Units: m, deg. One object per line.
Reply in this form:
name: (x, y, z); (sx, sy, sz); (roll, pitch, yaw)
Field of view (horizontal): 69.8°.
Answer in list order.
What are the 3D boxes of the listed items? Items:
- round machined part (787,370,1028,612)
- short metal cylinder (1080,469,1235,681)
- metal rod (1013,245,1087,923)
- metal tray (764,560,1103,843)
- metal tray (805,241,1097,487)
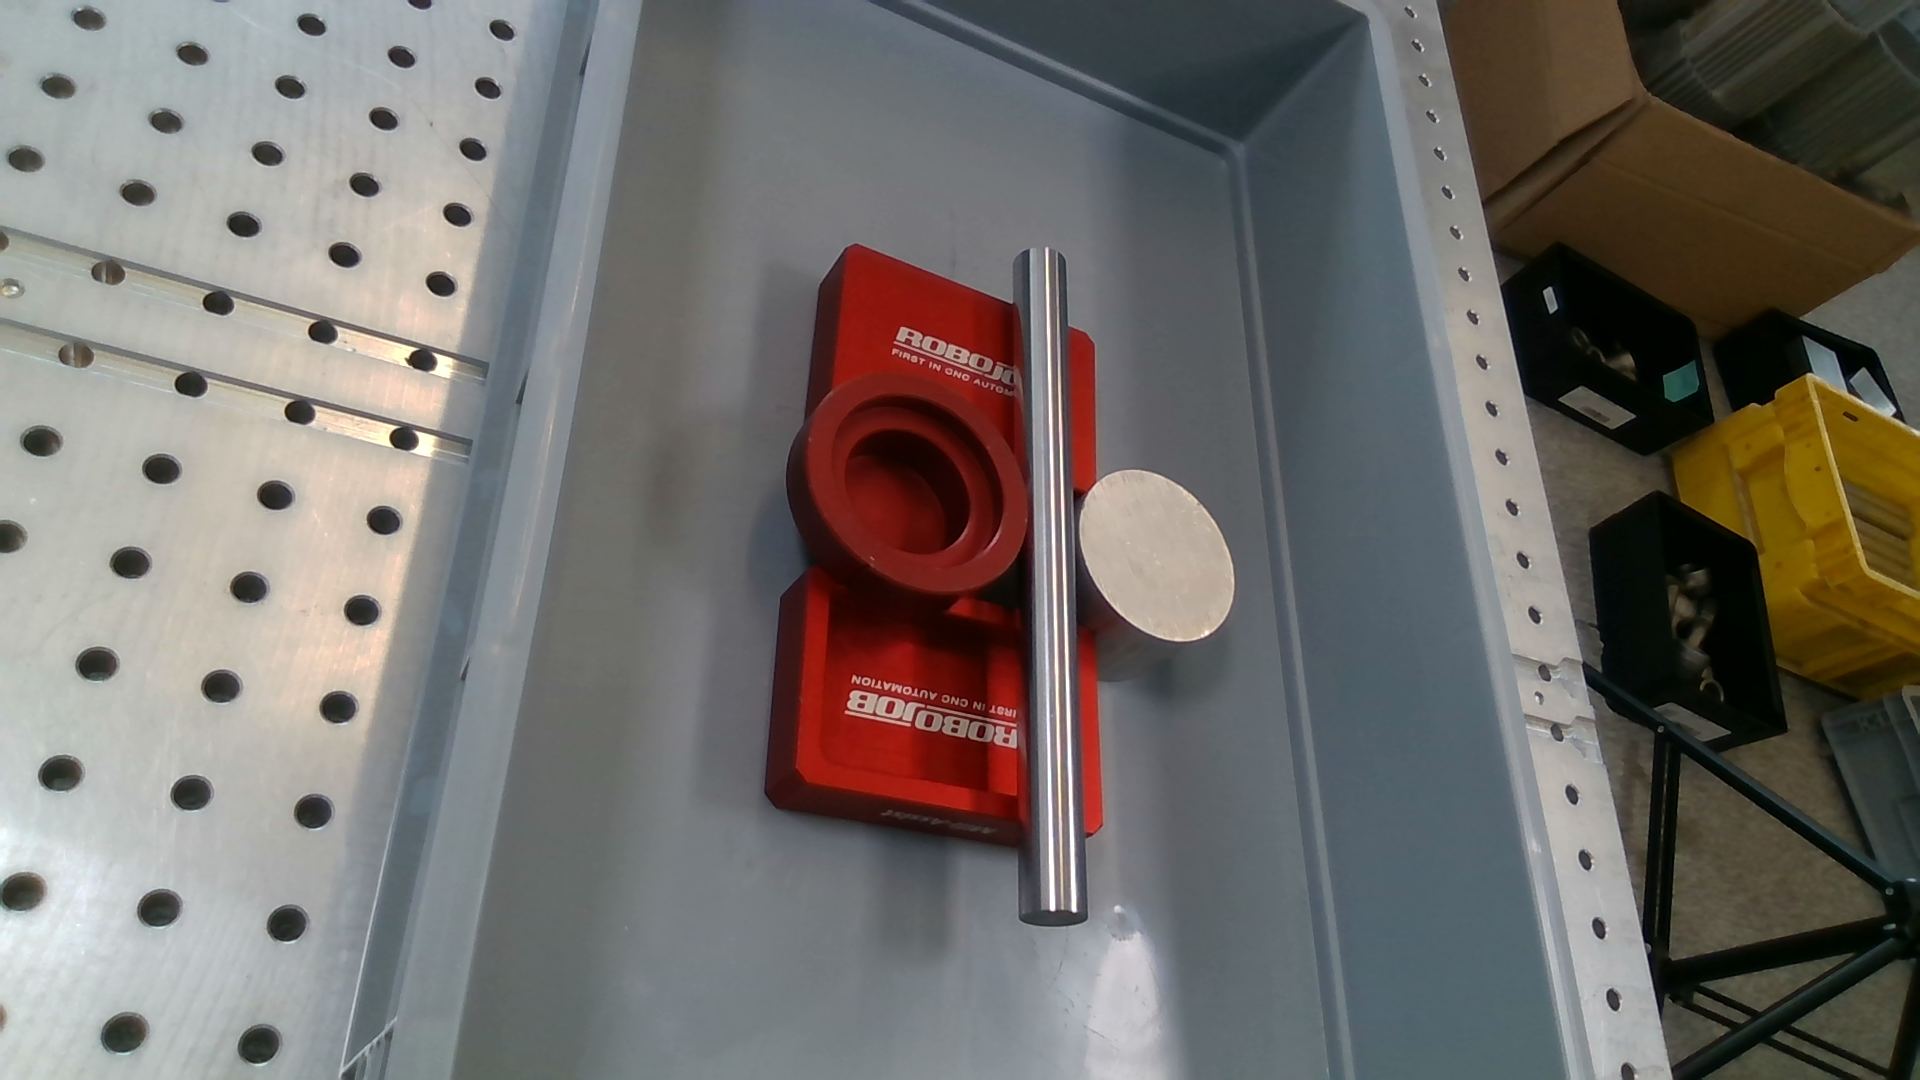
round machined part: (-0.025, -0.016, 0.555); (0.098, 0.042, 0.098); (14, 59, -25)
short metal cylinder: (0.073, 0.016, 0.605); (0.080, 0.050, 0.080); (14, 59, -25)
metal rod: (0.035, 0.004, 0.565); (0.025, 0.025, 0.299); (15, 59, -24)
metal tray: (-0.008, 0.067, 0.541); (0.130, 0.030, 0.090); (15, 58, -24)
metal tray: (-0.001, -0.070, 0.617); (0.130, 0.030, 0.090); (17, 58, -23)
